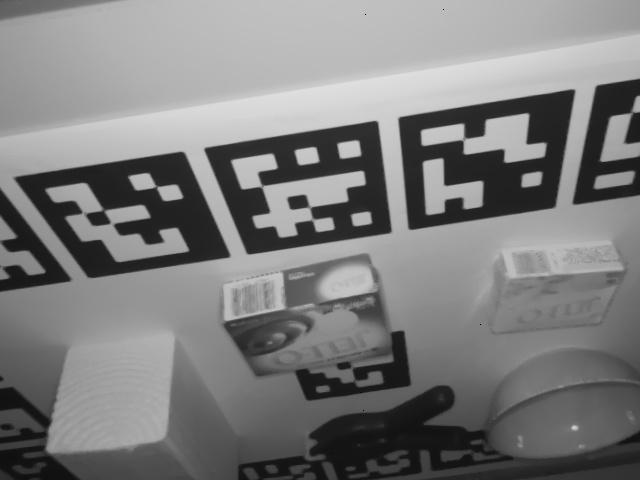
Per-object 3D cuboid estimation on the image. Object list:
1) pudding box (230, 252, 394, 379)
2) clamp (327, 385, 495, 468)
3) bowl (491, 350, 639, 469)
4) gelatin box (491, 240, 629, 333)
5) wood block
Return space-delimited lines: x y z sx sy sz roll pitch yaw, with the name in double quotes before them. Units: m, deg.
"pudding box" -0.004 0.060 0.536 0.114 0.039 0.089 -11 132 3
"clamp" 0.085 0.198 0.699 0.164 0.037 0.122 -16 135 13
"bowl" 0.237 0.152 0.651 0.162 0.055 0.160 -2 133 -1
"gelatin box" 0.182 0.037 0.534 0.089 0.030 0.072 -4 134 -2
"wood block" -0.138 0.182 0.610 0.090 0.091 0.205 -7 136 4
